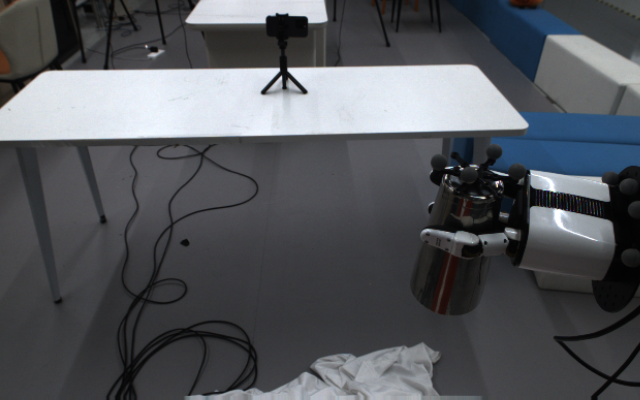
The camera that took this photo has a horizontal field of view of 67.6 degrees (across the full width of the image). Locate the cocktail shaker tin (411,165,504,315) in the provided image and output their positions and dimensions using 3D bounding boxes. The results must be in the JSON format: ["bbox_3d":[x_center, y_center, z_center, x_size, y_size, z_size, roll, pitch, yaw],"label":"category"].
[{"bbox_3d":[0.169,0.043,0.578,0.093,0.170,0.093,1,39,-1],"label":"cocktail shaker tin"}]
